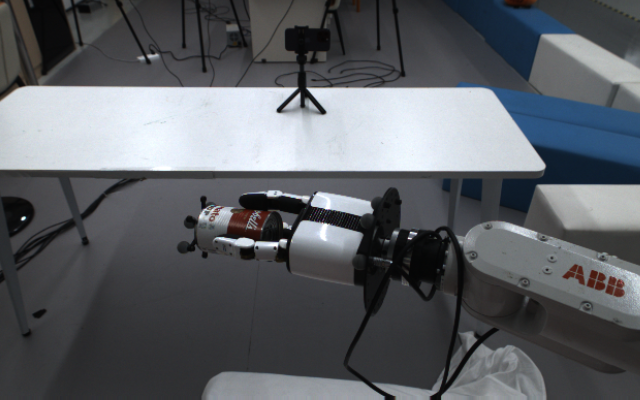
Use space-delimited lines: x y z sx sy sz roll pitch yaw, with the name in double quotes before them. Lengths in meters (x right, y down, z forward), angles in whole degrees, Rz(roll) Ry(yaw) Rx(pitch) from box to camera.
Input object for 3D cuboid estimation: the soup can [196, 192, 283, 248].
"soup can" -0.107 0.045 0.658 0.101 0.067 0.067 6 34 18
